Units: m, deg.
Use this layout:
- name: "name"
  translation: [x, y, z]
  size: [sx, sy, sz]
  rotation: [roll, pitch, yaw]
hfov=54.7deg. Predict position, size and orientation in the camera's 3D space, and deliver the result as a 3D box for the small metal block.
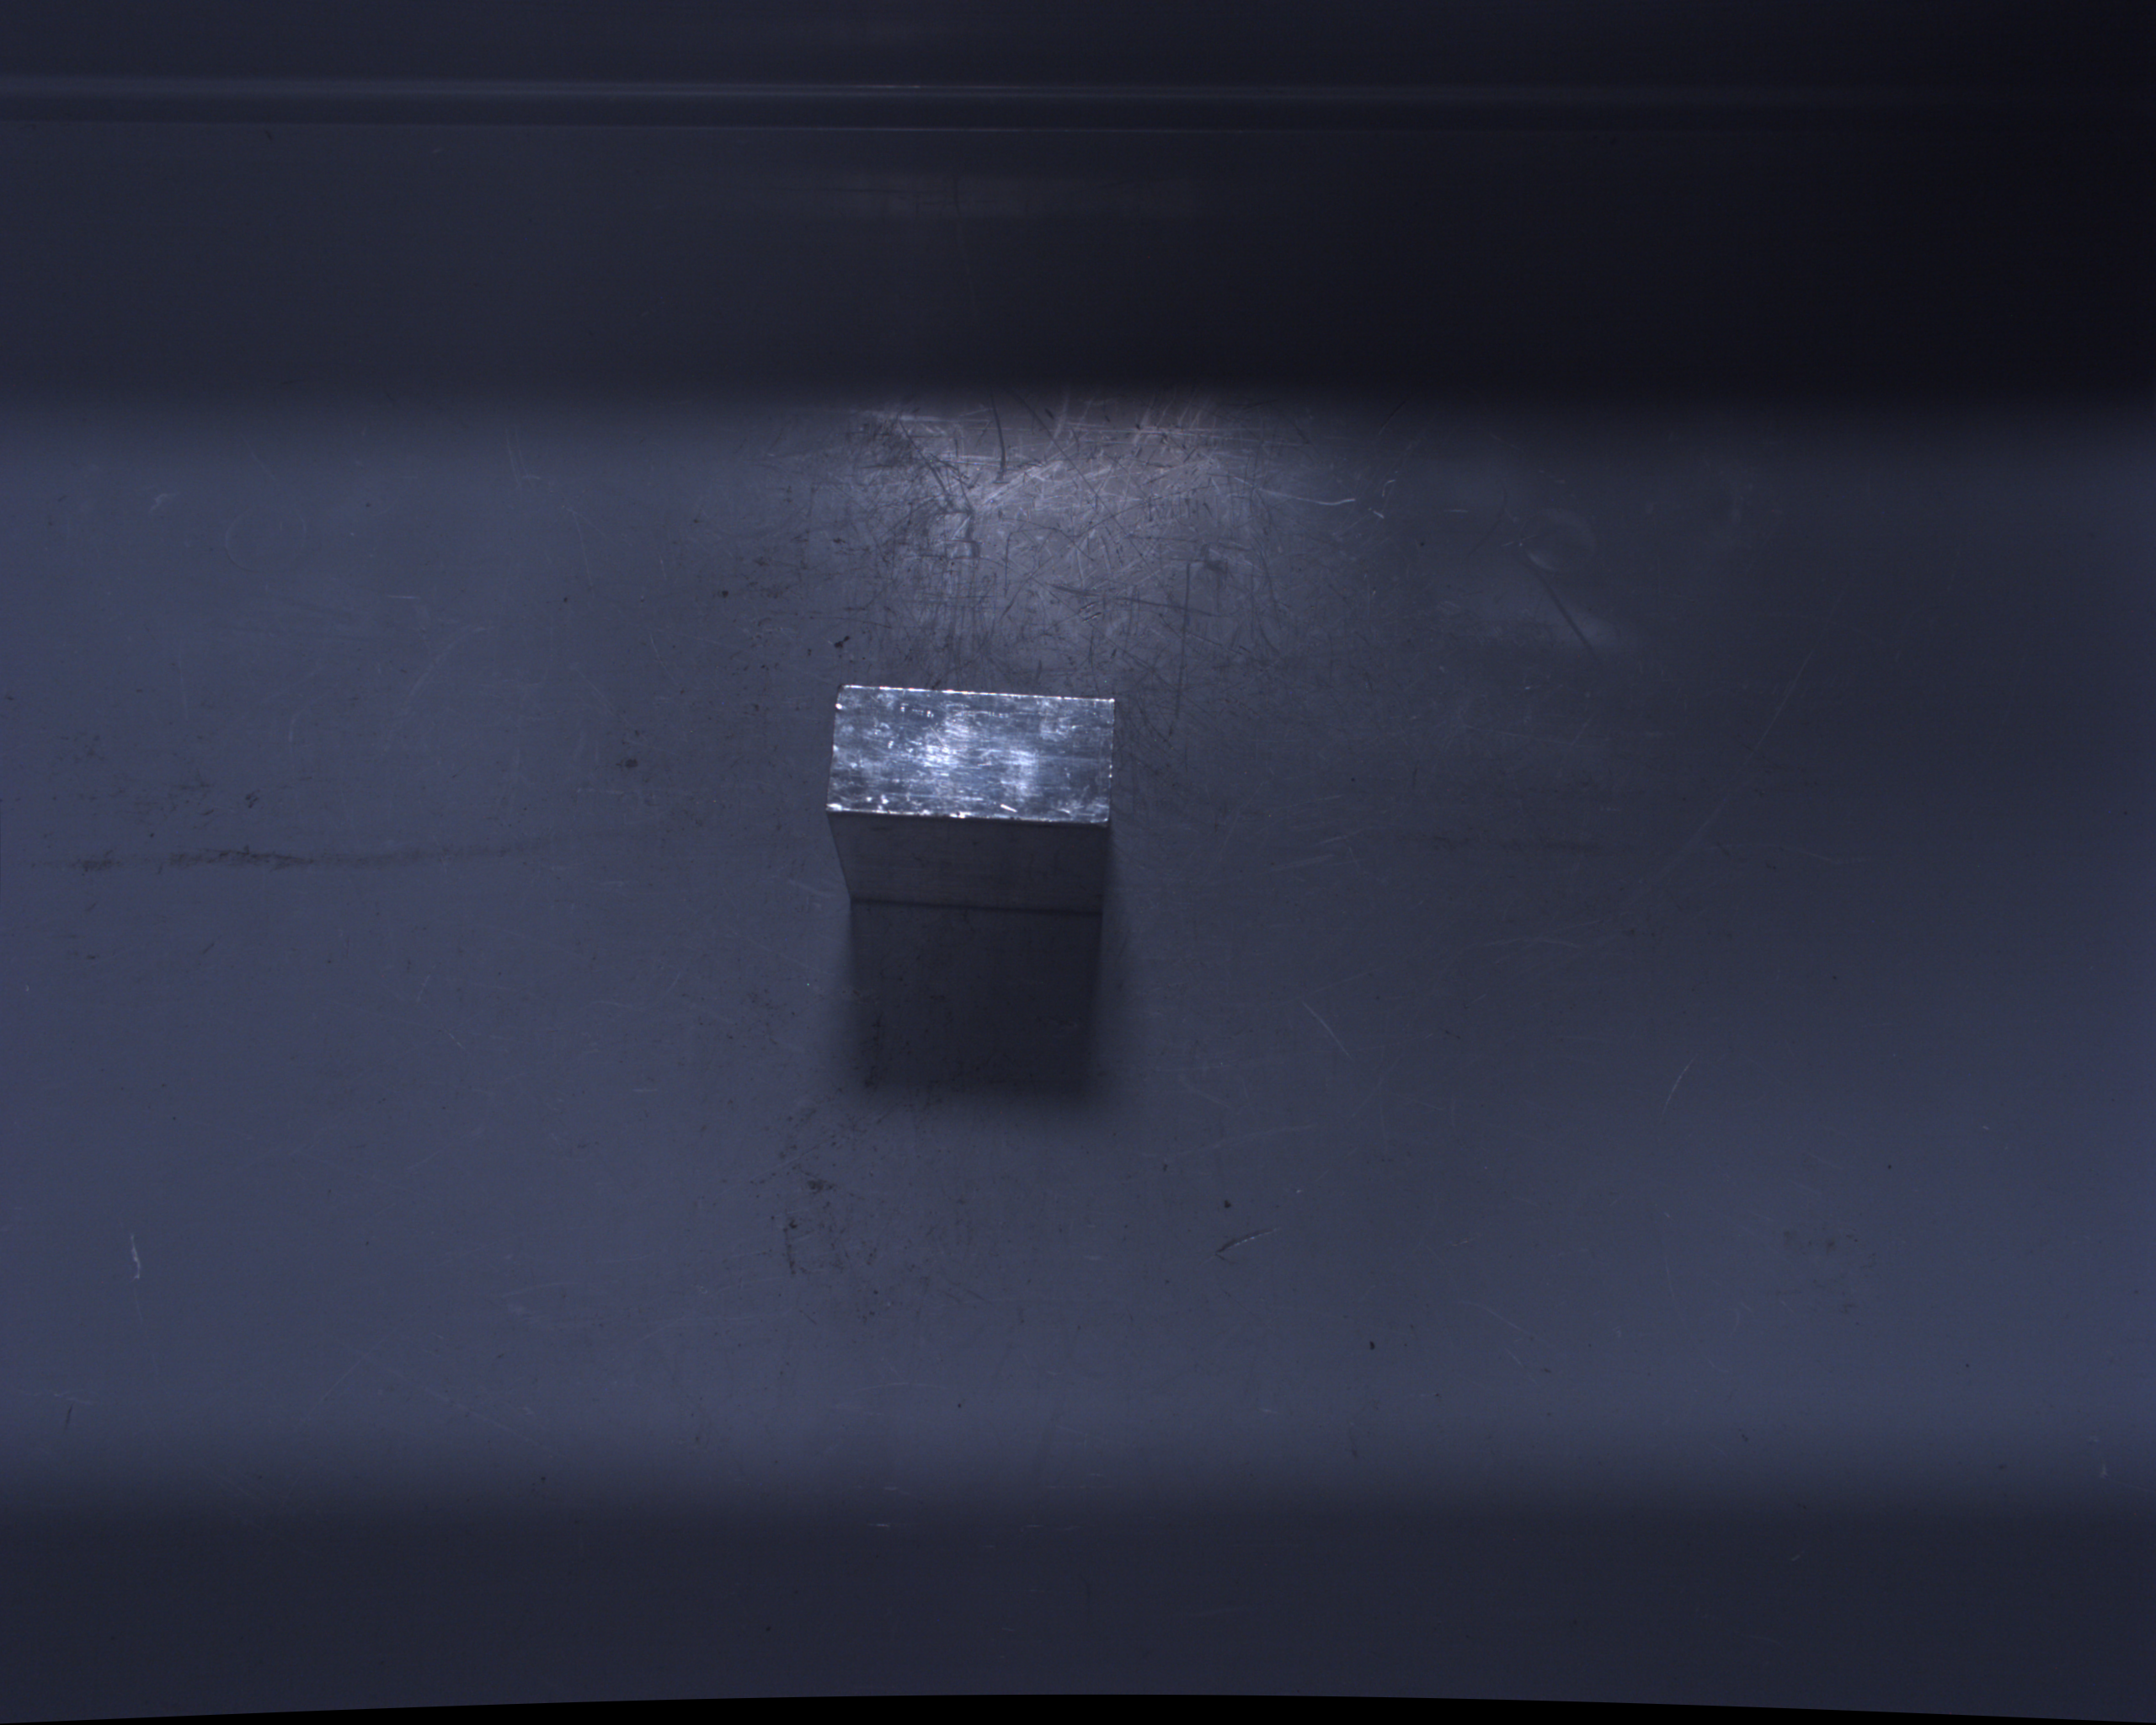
- name: "small metal block"
  translation: [-0.019, -0.011, 0.396]
  size: [0.050, 0.050, 0.025]
  rotation: [3, 70, 1]
